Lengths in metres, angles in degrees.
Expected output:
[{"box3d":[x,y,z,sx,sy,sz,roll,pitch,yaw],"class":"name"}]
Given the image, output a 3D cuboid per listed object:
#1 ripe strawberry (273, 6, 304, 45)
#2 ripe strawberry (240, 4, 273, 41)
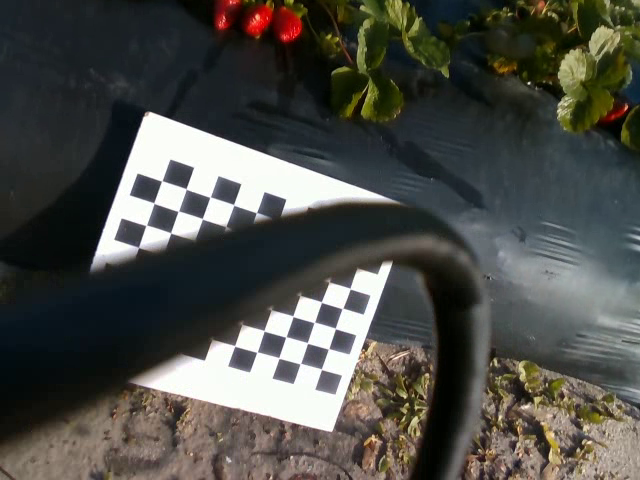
[{"box3d":[-0.042,-0.217,0.571,0.035,0.034,0.041,12,38,-9],"class":"ripe strawberry"},{"box3d":[-0.068,-0.225,0.563,0.030,0.037,0.039,27,22,-8],"class":"ripe strawberry"}]
